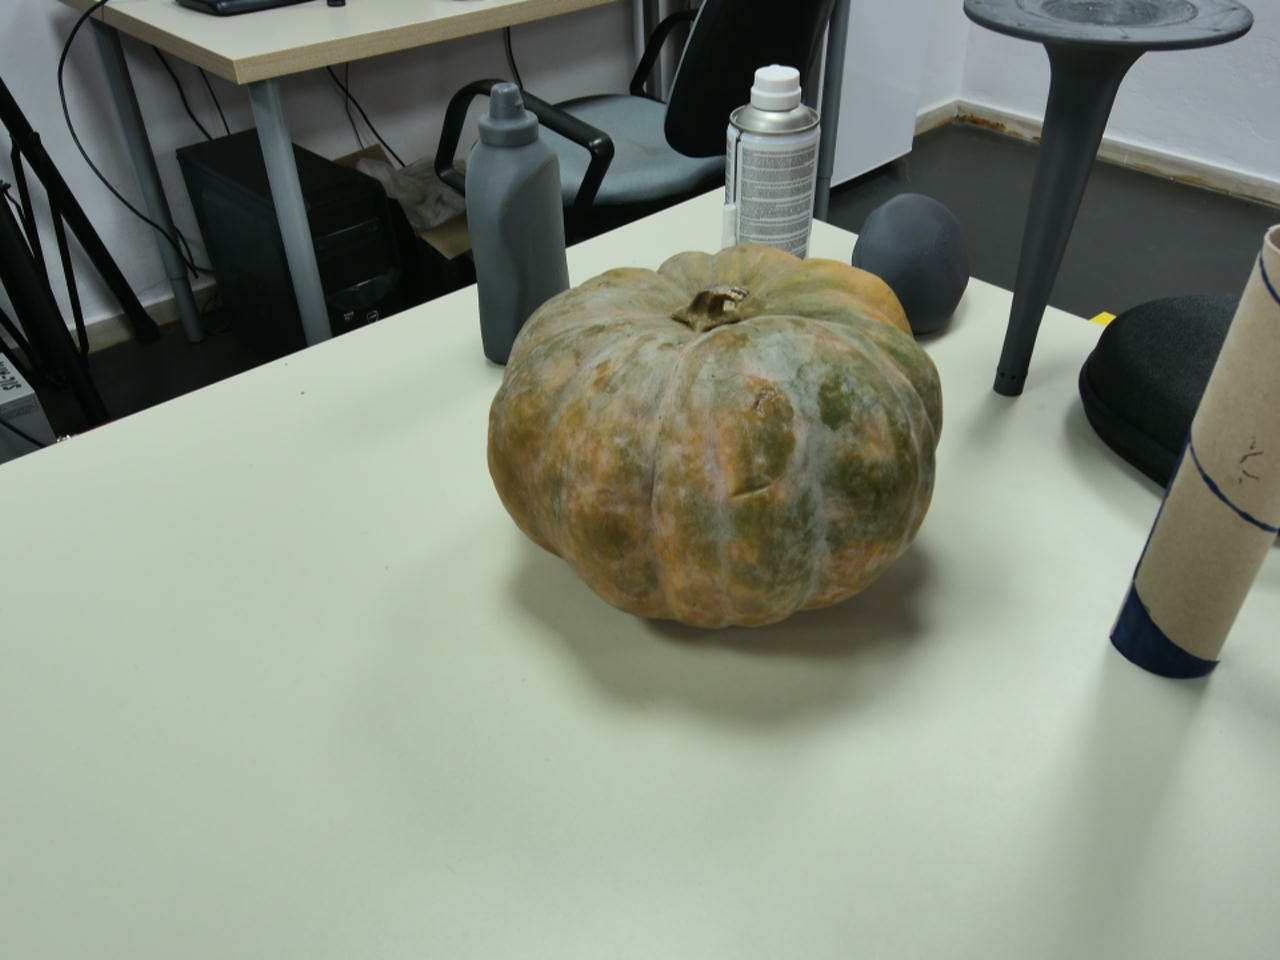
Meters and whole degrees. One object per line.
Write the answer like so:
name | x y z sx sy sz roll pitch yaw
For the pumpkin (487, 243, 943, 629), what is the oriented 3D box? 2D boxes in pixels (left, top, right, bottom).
pumpkin | 0.040 -0.031 0.545 0.252 0.169 0.251 0 37 0
